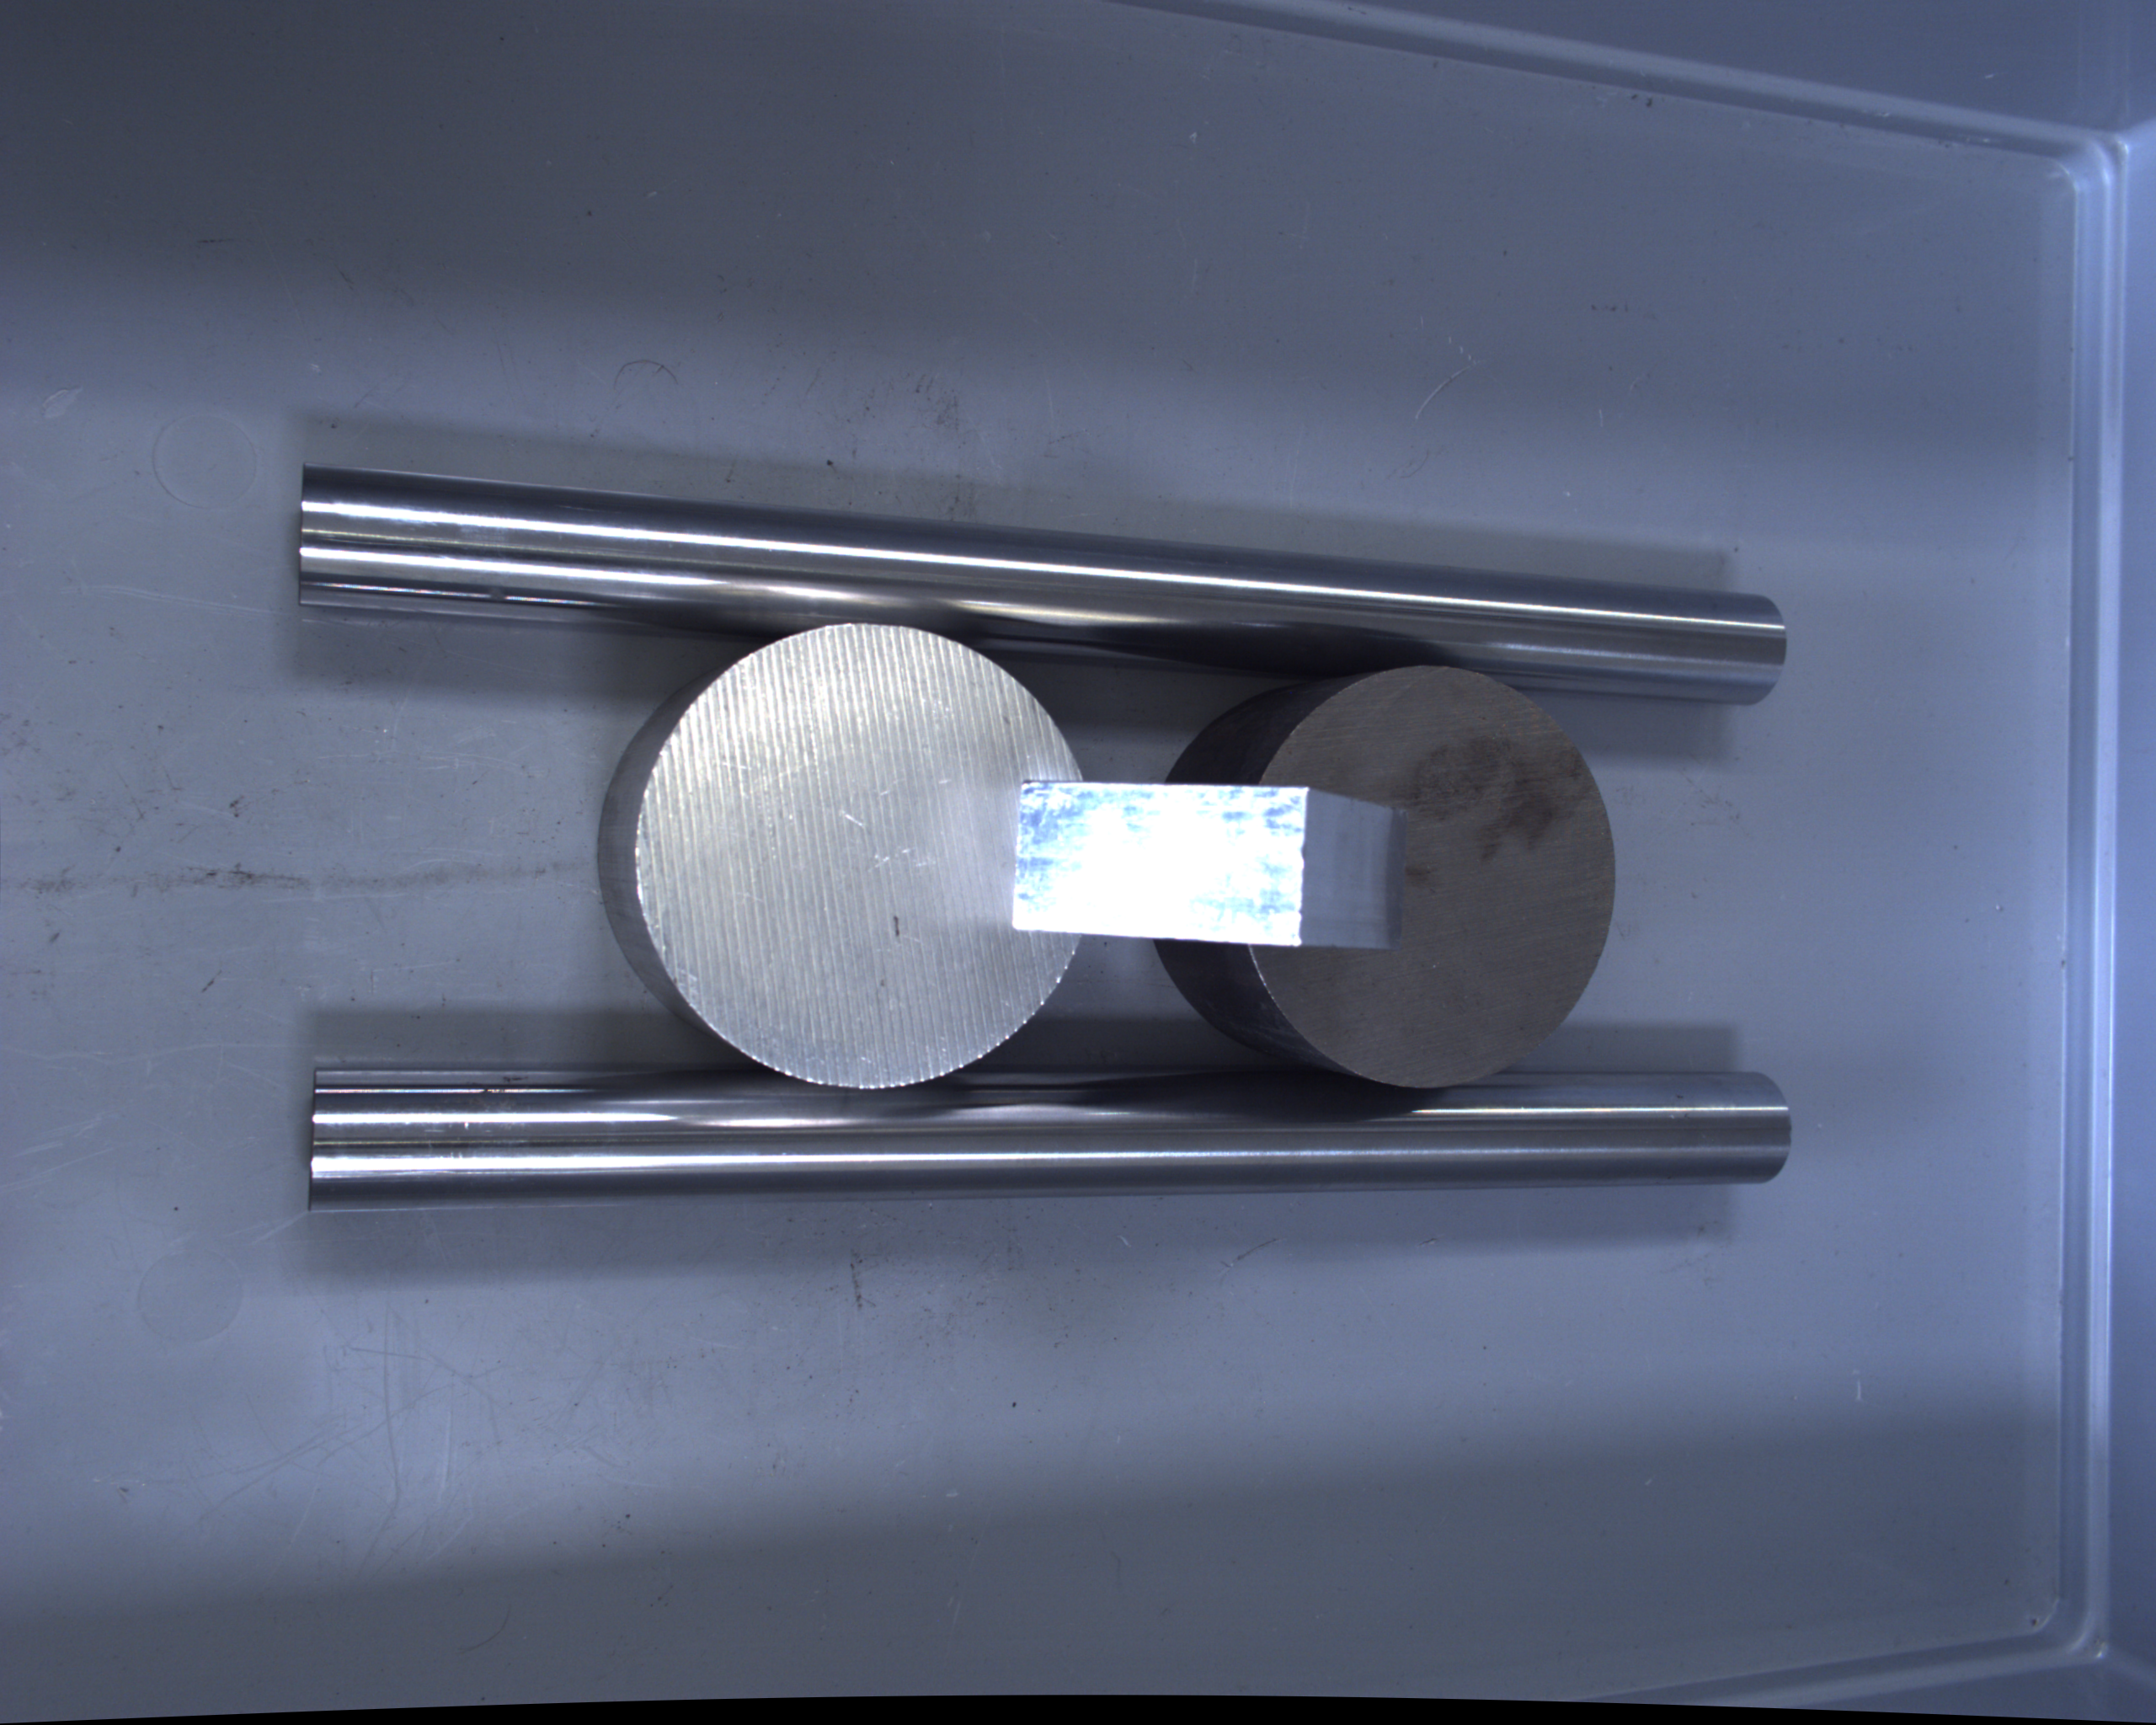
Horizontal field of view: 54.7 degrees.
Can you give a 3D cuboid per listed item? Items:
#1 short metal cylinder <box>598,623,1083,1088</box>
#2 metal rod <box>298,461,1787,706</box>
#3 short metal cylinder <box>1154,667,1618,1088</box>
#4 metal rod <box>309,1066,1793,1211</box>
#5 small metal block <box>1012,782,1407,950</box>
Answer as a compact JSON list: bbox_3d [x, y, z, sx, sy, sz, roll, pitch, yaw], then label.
[{"bbox_3d":[-0.043,-0.001,0.380,0.081,0.050,0.079,0,90,-20],"label":"short metal cylinder"},{"bbox_3d":[0.008,-0.052,0.412,0.302,0.025,0.025,2,90,-20],"label":"metal rod"},{"bbox_3d":[0.059,0.003,0.418,0.081,0.050,0.079,0,90,-20],"label":"short metal cylinder"},{"bbox_3d":[0.009,0.053,0.413,0.302,0.025,0.025,2,89,-20],"label":"metal rod"},{"bbox_3d":[0.024,0.001,0.355,0.050,0.050,0.025,6,86,-63],"label":"small metal block"}]
